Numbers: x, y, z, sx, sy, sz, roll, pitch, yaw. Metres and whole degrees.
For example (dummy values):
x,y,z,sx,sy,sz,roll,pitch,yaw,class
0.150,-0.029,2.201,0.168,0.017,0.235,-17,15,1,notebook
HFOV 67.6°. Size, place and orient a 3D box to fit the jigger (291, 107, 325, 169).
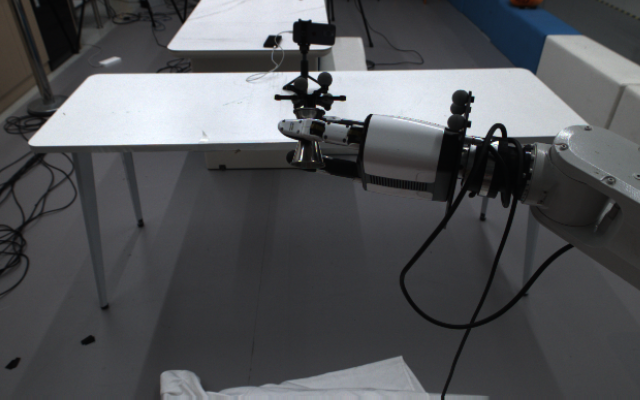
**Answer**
x,y,z,sx,sy,sz,roll,pitch,yaw,class
-0.015,-0.076,0.598,0.043,0.071,0.043,2,-6,0,jigger
